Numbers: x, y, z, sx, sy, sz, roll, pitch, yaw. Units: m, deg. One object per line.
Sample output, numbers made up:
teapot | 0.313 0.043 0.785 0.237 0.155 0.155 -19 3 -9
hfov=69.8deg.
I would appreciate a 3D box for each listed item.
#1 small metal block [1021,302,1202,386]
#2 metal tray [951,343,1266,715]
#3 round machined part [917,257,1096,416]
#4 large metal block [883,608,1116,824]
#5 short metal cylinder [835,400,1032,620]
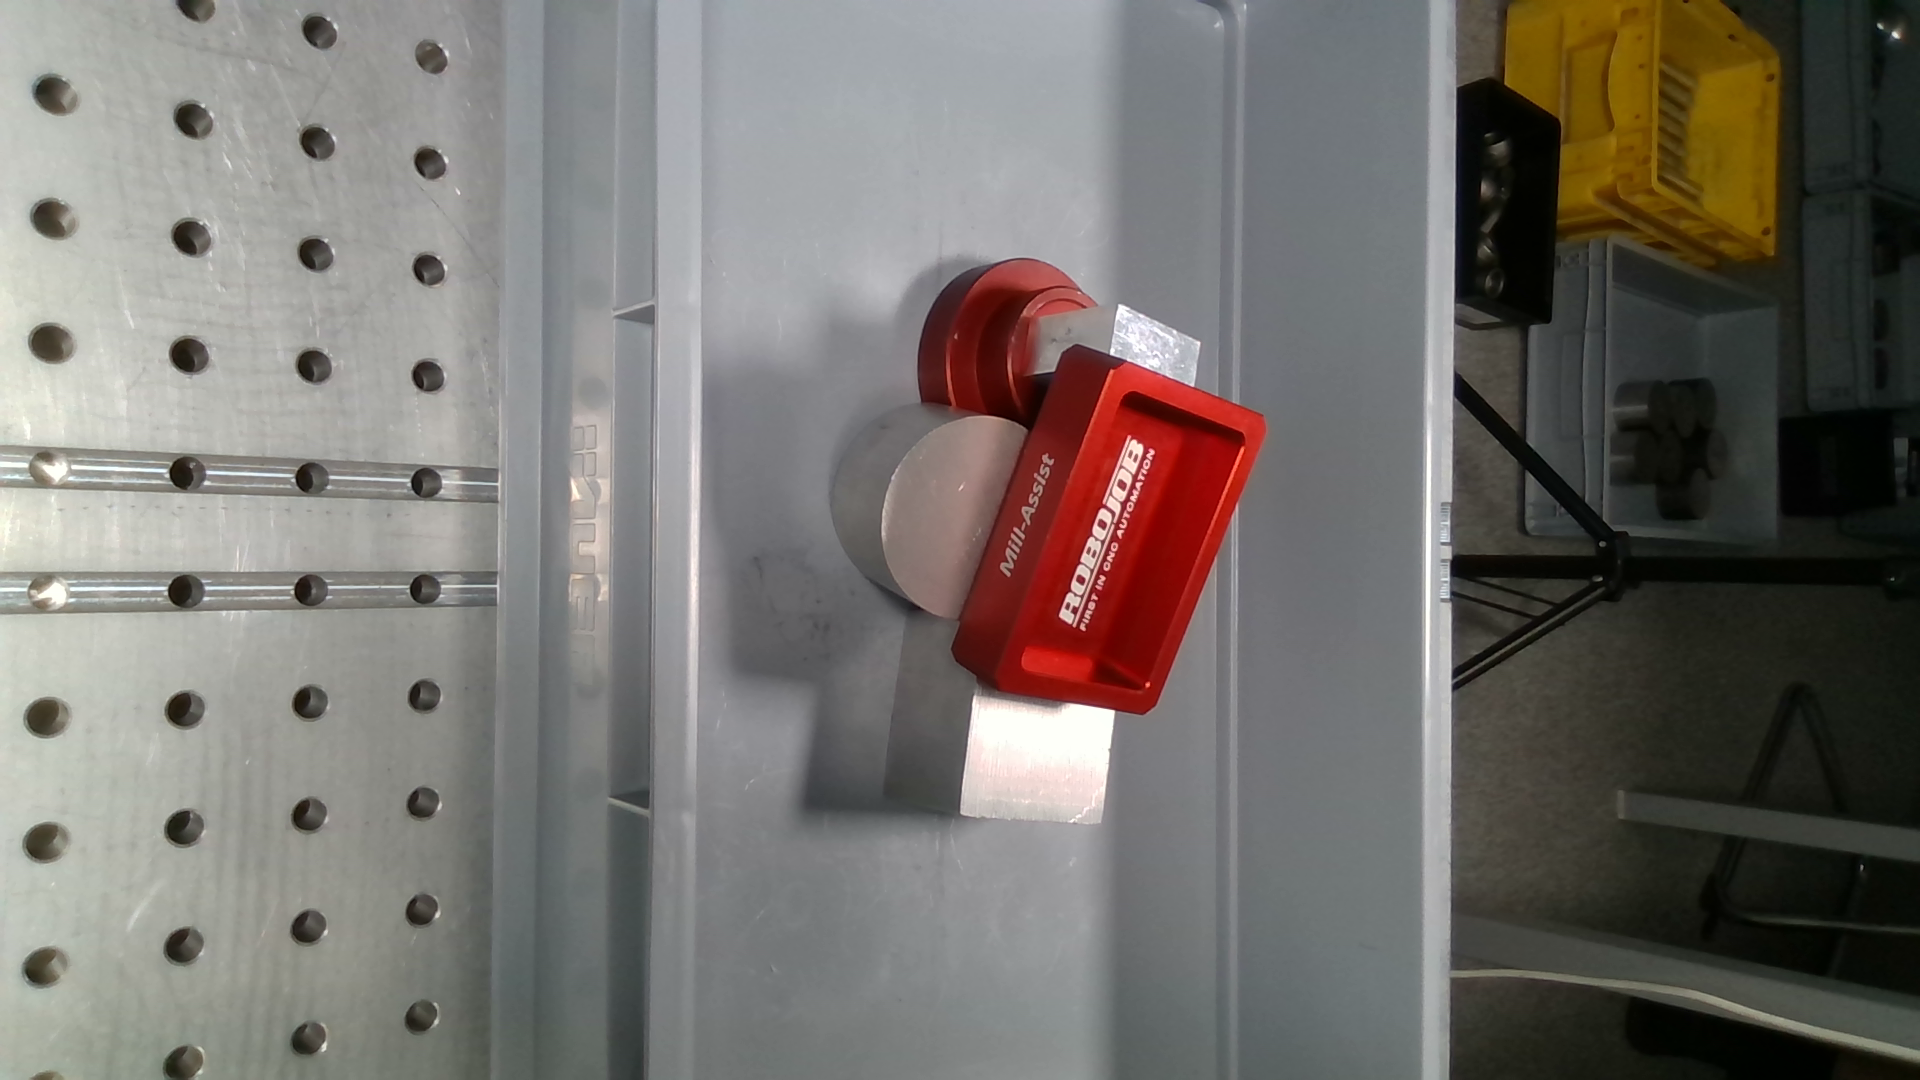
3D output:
small metal block | 0.062 -0.074 0.562 0.050 0.050 0.025 16 80 -39
metal tray | 0.059 -0.001 0.536 0.090 0.030 0.130 14 100 -39
round machined part | 0.032 -0.074 0.597 0.098 0.042 0.098 0 90 -40
large metal block | 0.019 0.074 0.580 0.080 0.050 0.080 13 82 -40
short metal cylinder | -0.003 -0.013 0.547 0.080 0.050 0.080 -6 104 -26
